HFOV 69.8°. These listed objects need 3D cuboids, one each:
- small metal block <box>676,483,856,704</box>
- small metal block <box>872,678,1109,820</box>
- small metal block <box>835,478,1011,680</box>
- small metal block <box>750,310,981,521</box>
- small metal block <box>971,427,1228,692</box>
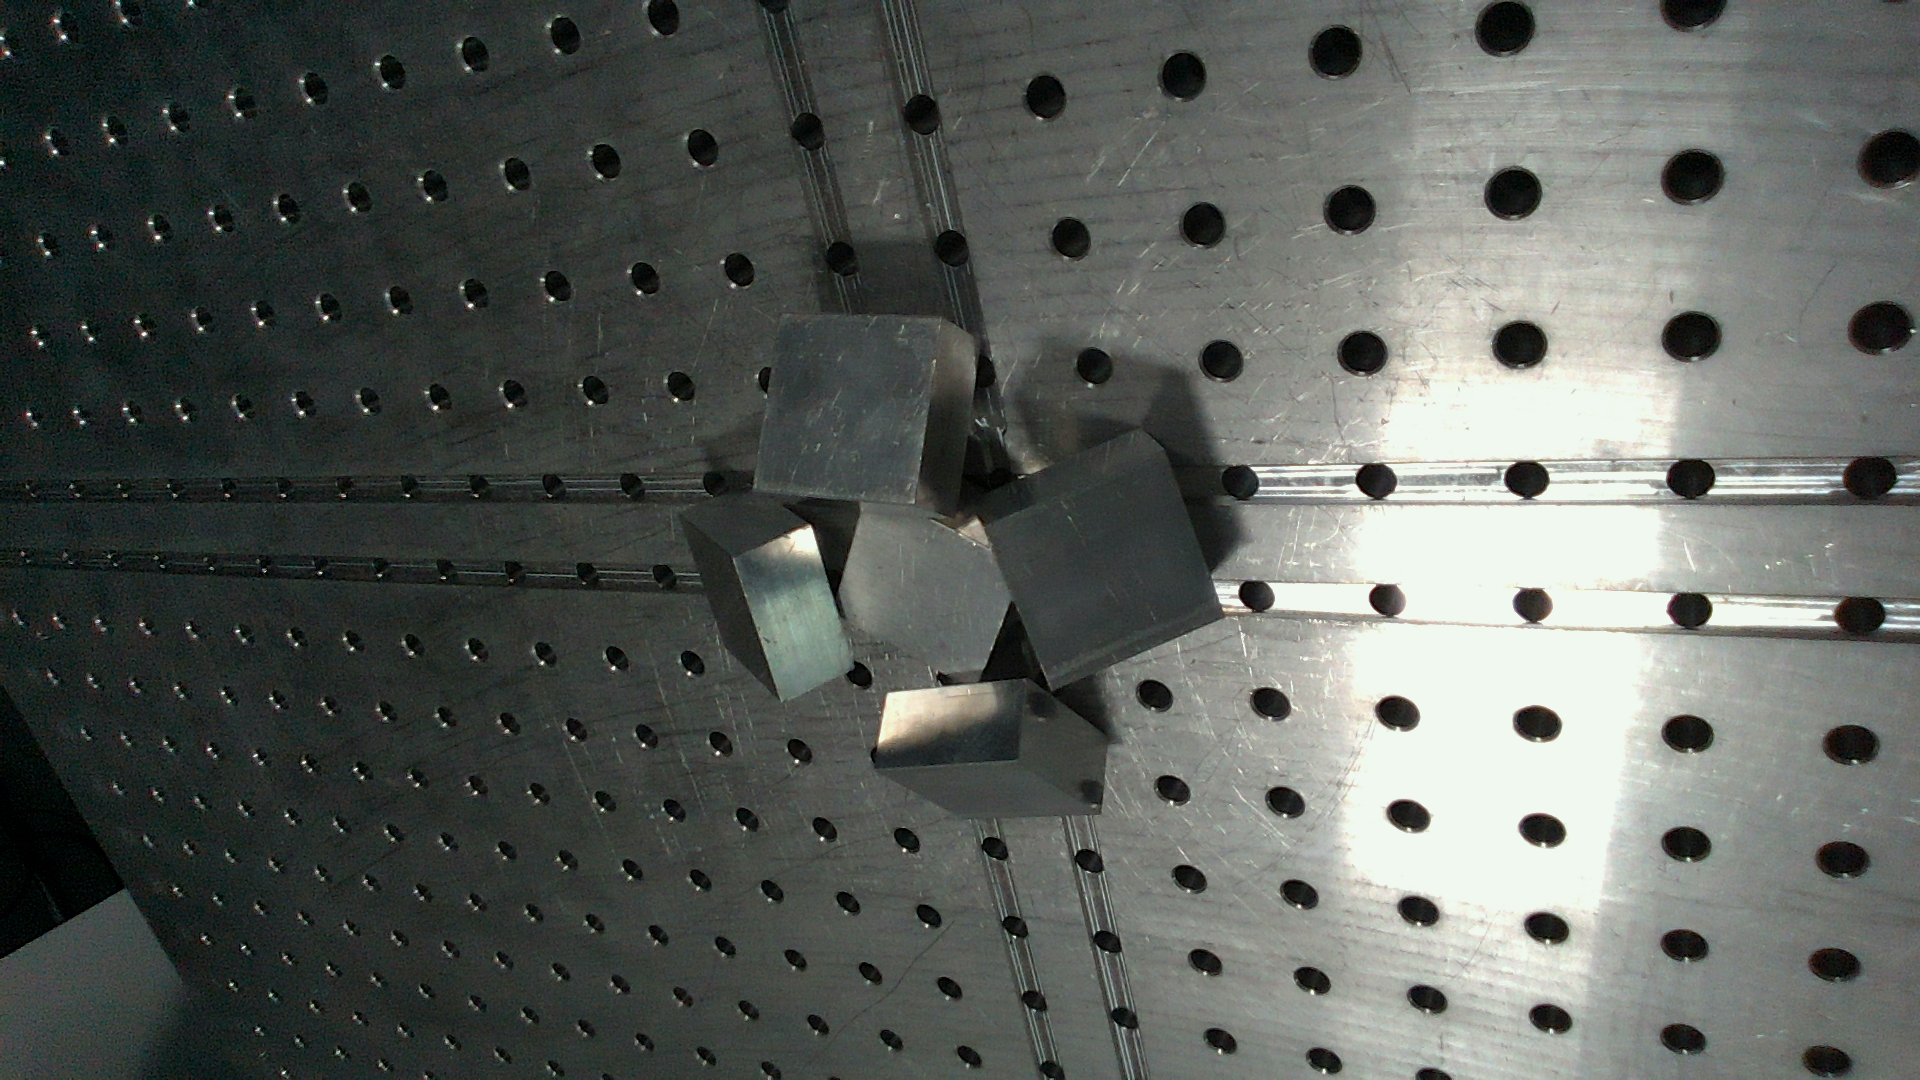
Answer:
[{"bbox_3d":[-0.060,0.015,0.422,0.050,0.025,0.050,29,139,56],"label":"small metal block"},{"bbox_3d":[0.010,0.064,0.414,0.050,0.025,0.050,-9,149,32],"label":"small metal block"},{"bbox_3d":[-0.006,0.009,0.404,0.050,0.025,0.050,28,128,11],"label":"small metal block"},{"bbox_3d":[-0.025,-0.034,0.373,0.050,0.025,0.050,6,85,26],"label":"small metal block"},{"bbox_3d":[0.036,0.005,0.364,0.050,0.025,0.050,-23,109,0],"label":"small metal block"}]
